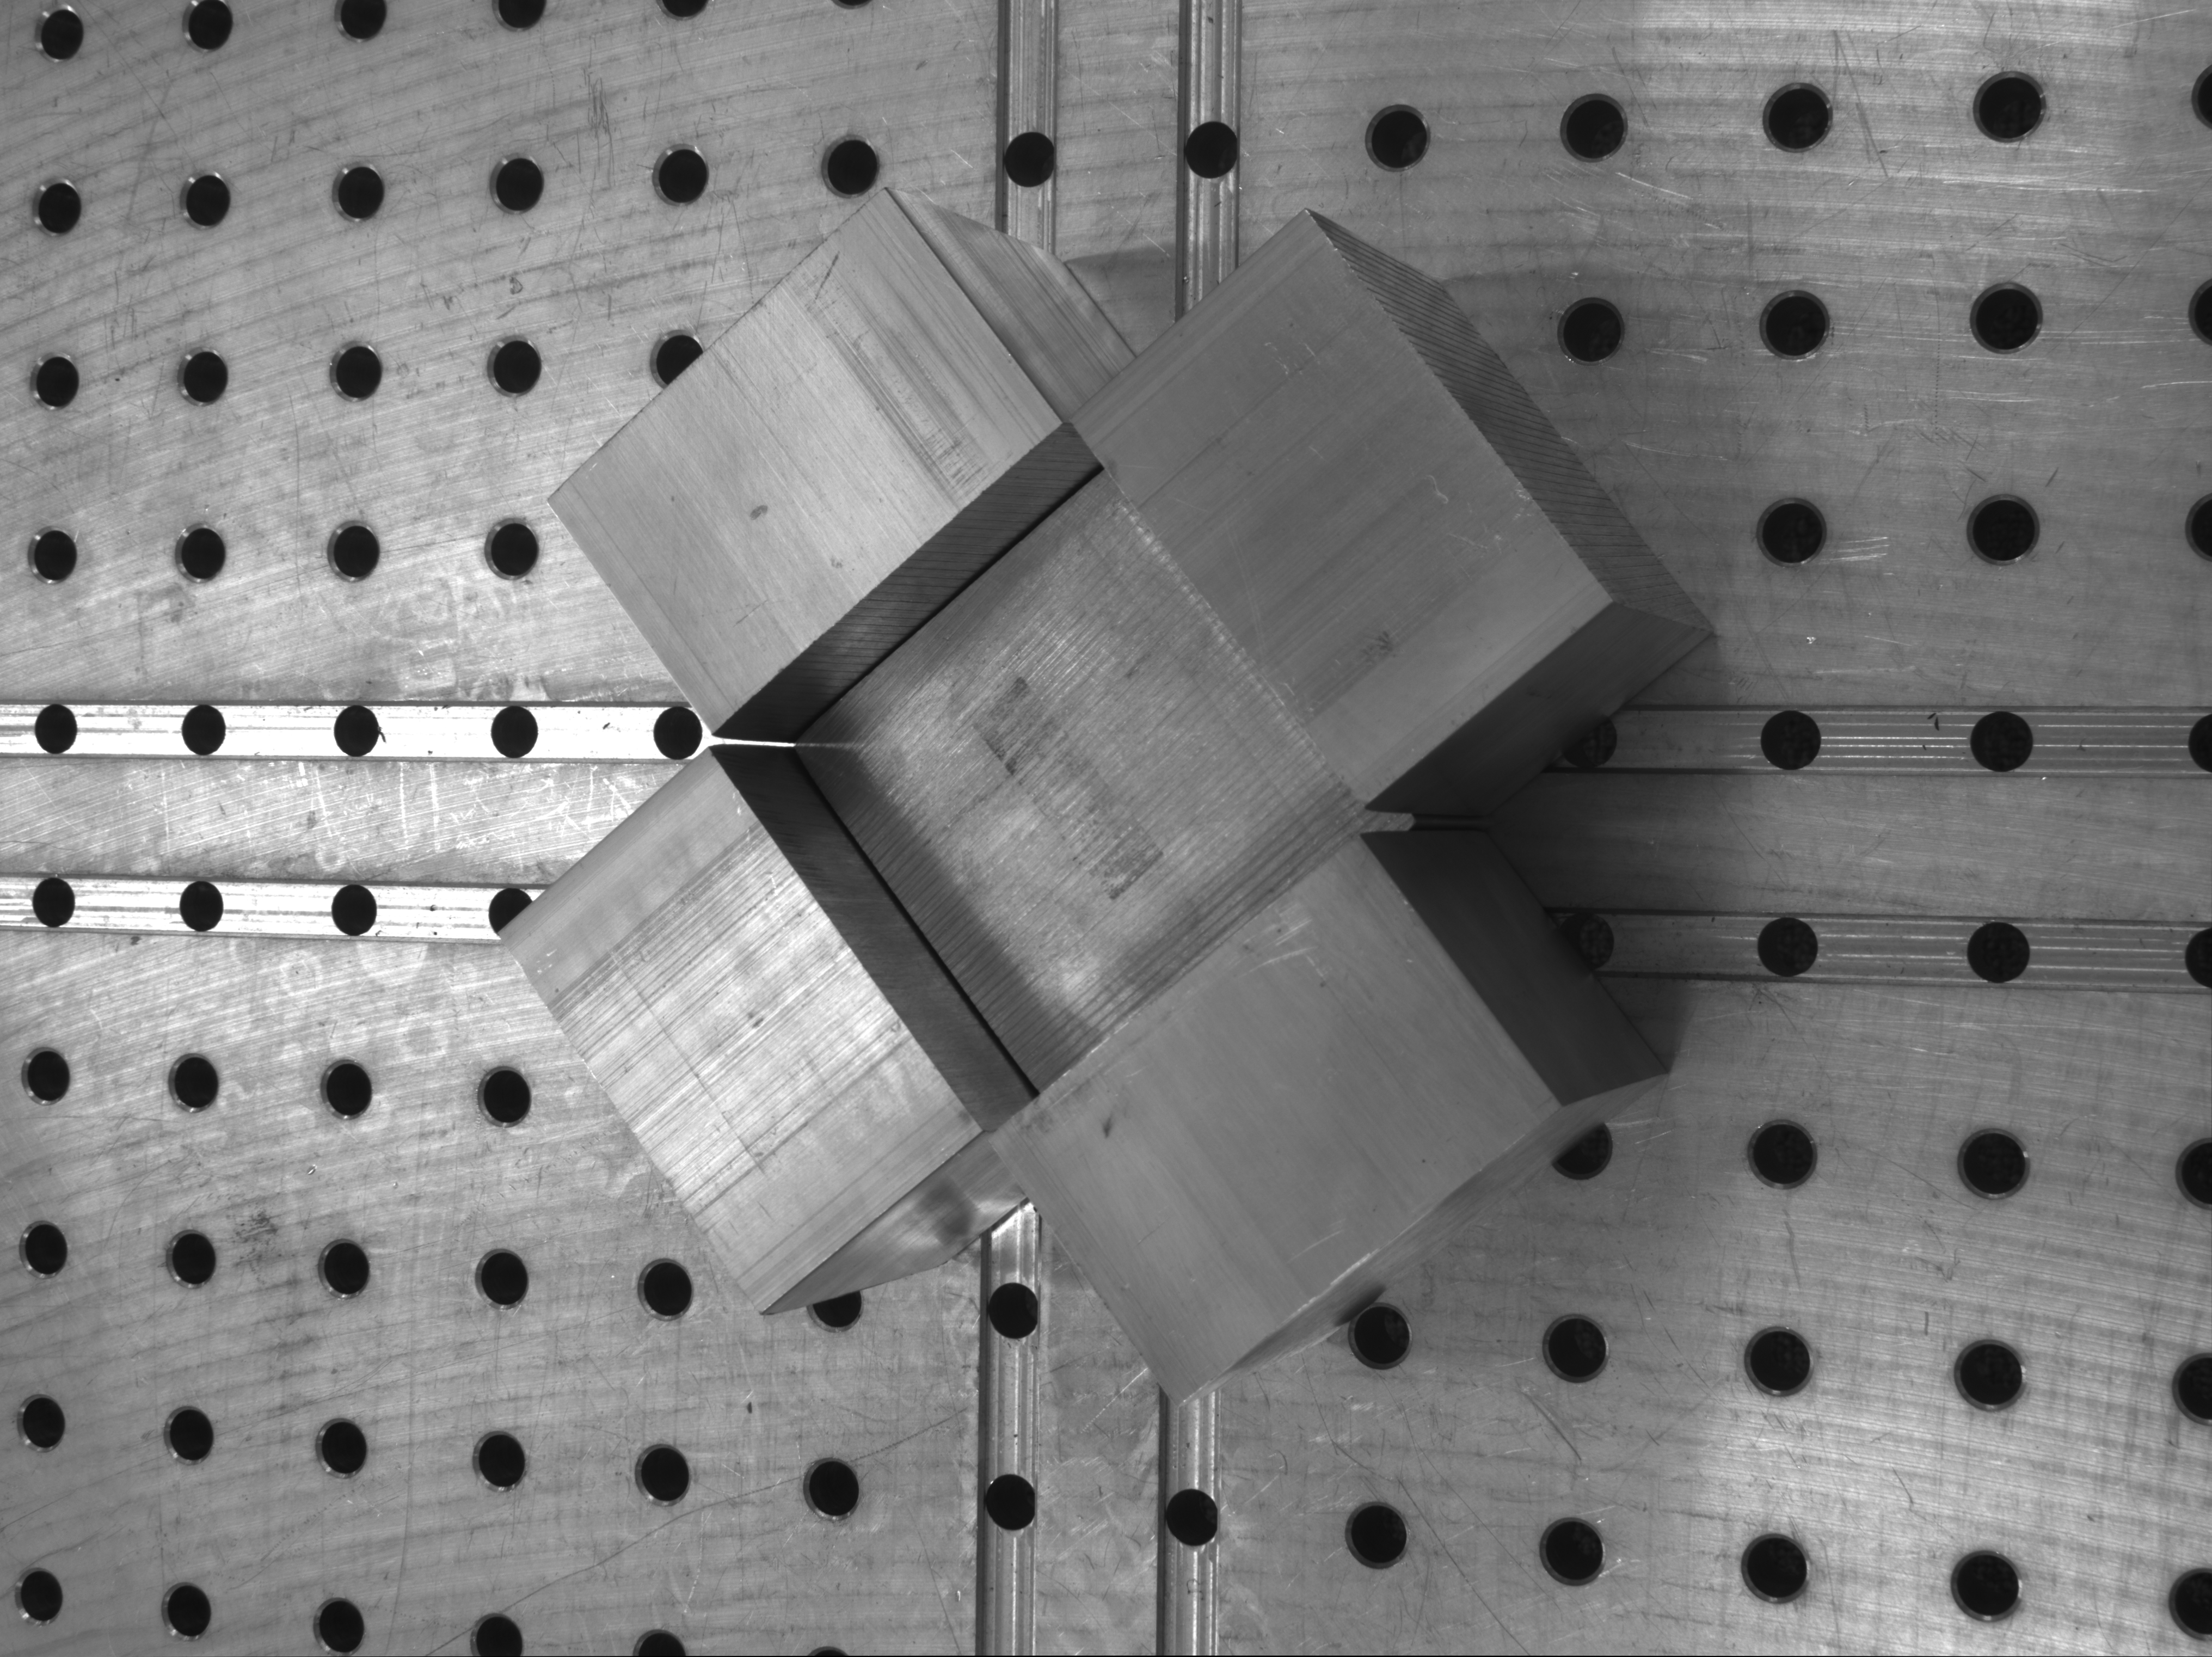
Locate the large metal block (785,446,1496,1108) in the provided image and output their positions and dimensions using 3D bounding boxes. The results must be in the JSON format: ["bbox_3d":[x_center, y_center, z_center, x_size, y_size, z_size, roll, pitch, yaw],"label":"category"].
[{"bbox_3d":[0.006,-0.008,0.633,0.080,0.050,0.080,-41,76,18],"label":"large metal block"}]

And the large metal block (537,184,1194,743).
[{"bbox_3d":[-0.037,-0.059,0.634,0.080,0.080,0.050,-40,77,16],"label":"large metal block"}]

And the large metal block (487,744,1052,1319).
[{"bbox_3d":[-0.048,0.033,0.637,0.050,0.080,0.080,-40,77,16],"label":"large metal block"}]

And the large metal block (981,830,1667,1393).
[{"bbox_3d":[0.038,0.044,0.607,0.080,0.080,0.050,-39,77,16],"label":"large metal block"}]

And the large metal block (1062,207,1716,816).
[{"bbox_3d":[0.049,-0.049,0.603,0.050,0.080,0.080,-40,77,15],"label":"large metal block"}]
